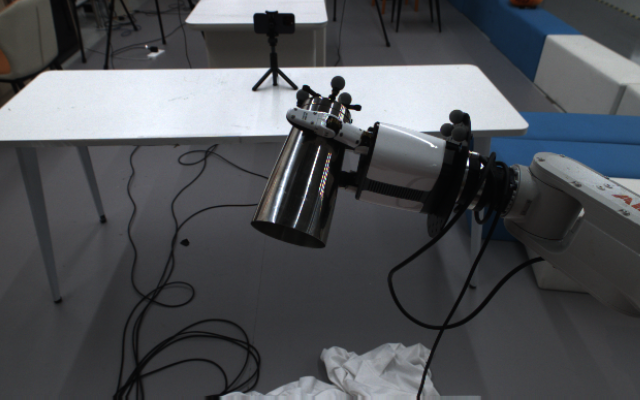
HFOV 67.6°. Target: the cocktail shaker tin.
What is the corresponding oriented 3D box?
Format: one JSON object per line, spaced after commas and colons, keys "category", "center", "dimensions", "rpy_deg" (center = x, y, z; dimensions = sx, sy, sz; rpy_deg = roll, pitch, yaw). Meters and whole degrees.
{"category": "cocktail shaker tin", "center": [-0.014, -0.039, 0.593], "dimensions": [0.093, 0.093, 0.170], "rpy_deg": [12, 72, 14]}
